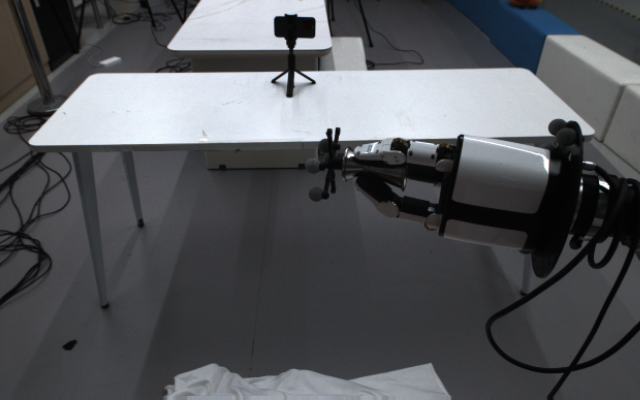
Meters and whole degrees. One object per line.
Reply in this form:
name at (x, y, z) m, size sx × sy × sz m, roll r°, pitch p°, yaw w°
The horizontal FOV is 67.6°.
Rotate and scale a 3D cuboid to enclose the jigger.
jigger at (0.069, -0.041, 0.535) m, size 0.071 × 0.043 × 0.043 m, roll 8°, pitch 35°, yaw 14°
